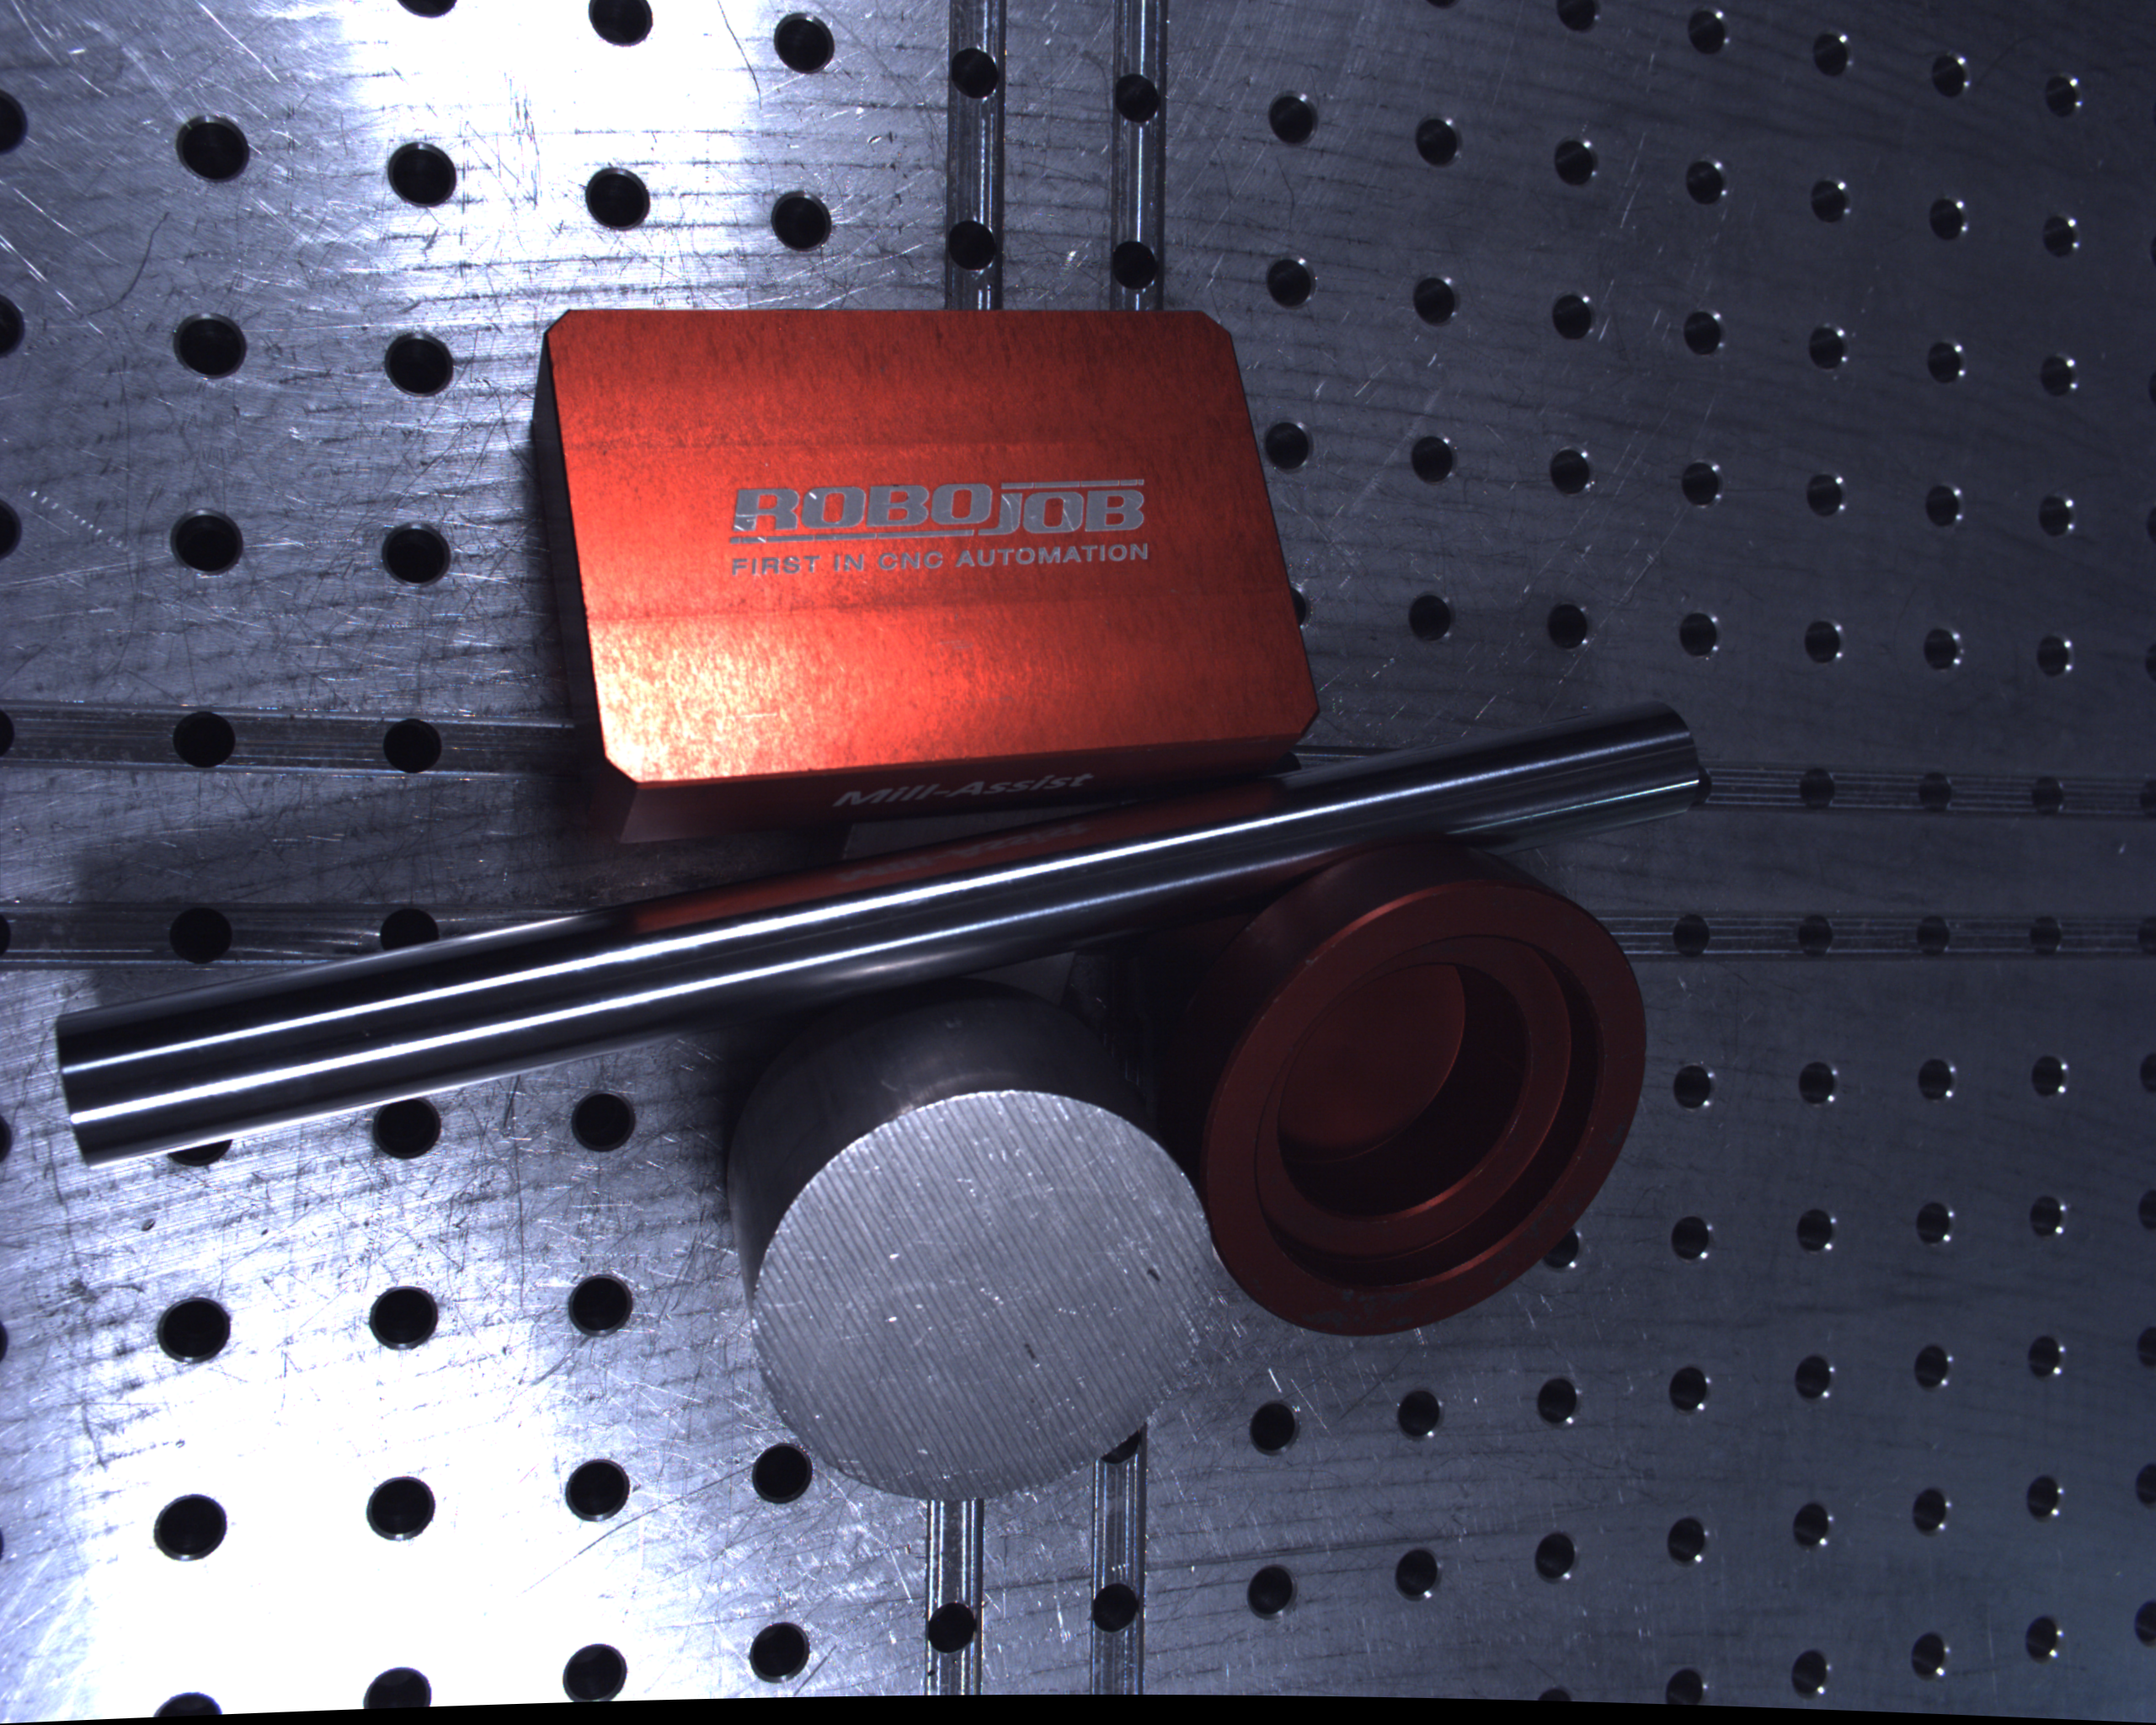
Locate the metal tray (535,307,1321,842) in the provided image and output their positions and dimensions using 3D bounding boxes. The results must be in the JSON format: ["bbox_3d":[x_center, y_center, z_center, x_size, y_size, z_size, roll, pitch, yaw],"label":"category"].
[{"bbox_3d":[-0.028,-0.056,0.385,0.131,0.030,0.090,-5,73,-21],"label":"metal tray"}]

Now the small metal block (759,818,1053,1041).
[{"bbox_3d":[-0.033,0.015,0.410,0.050,0.025,0.050,19,84,-20],"label":"small metal block"}]

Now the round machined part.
[{"bbox_3d":[0.061,0.041,0.415,0.099,0.042,0.097,-10,116,-20],"label":"round machined part"}]

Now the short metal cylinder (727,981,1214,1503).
[{"bbox_3d":[-0.021,0.068,0.380,0.081,0.050,0.079,-5,110,-13],"label":"short metal cylinder"}]

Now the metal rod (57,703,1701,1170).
[{"bbox_3d":[-0.018,0.008,0.379,0.303,0.025,0.025,-12,94,-20],"label":"metal rod"}]
